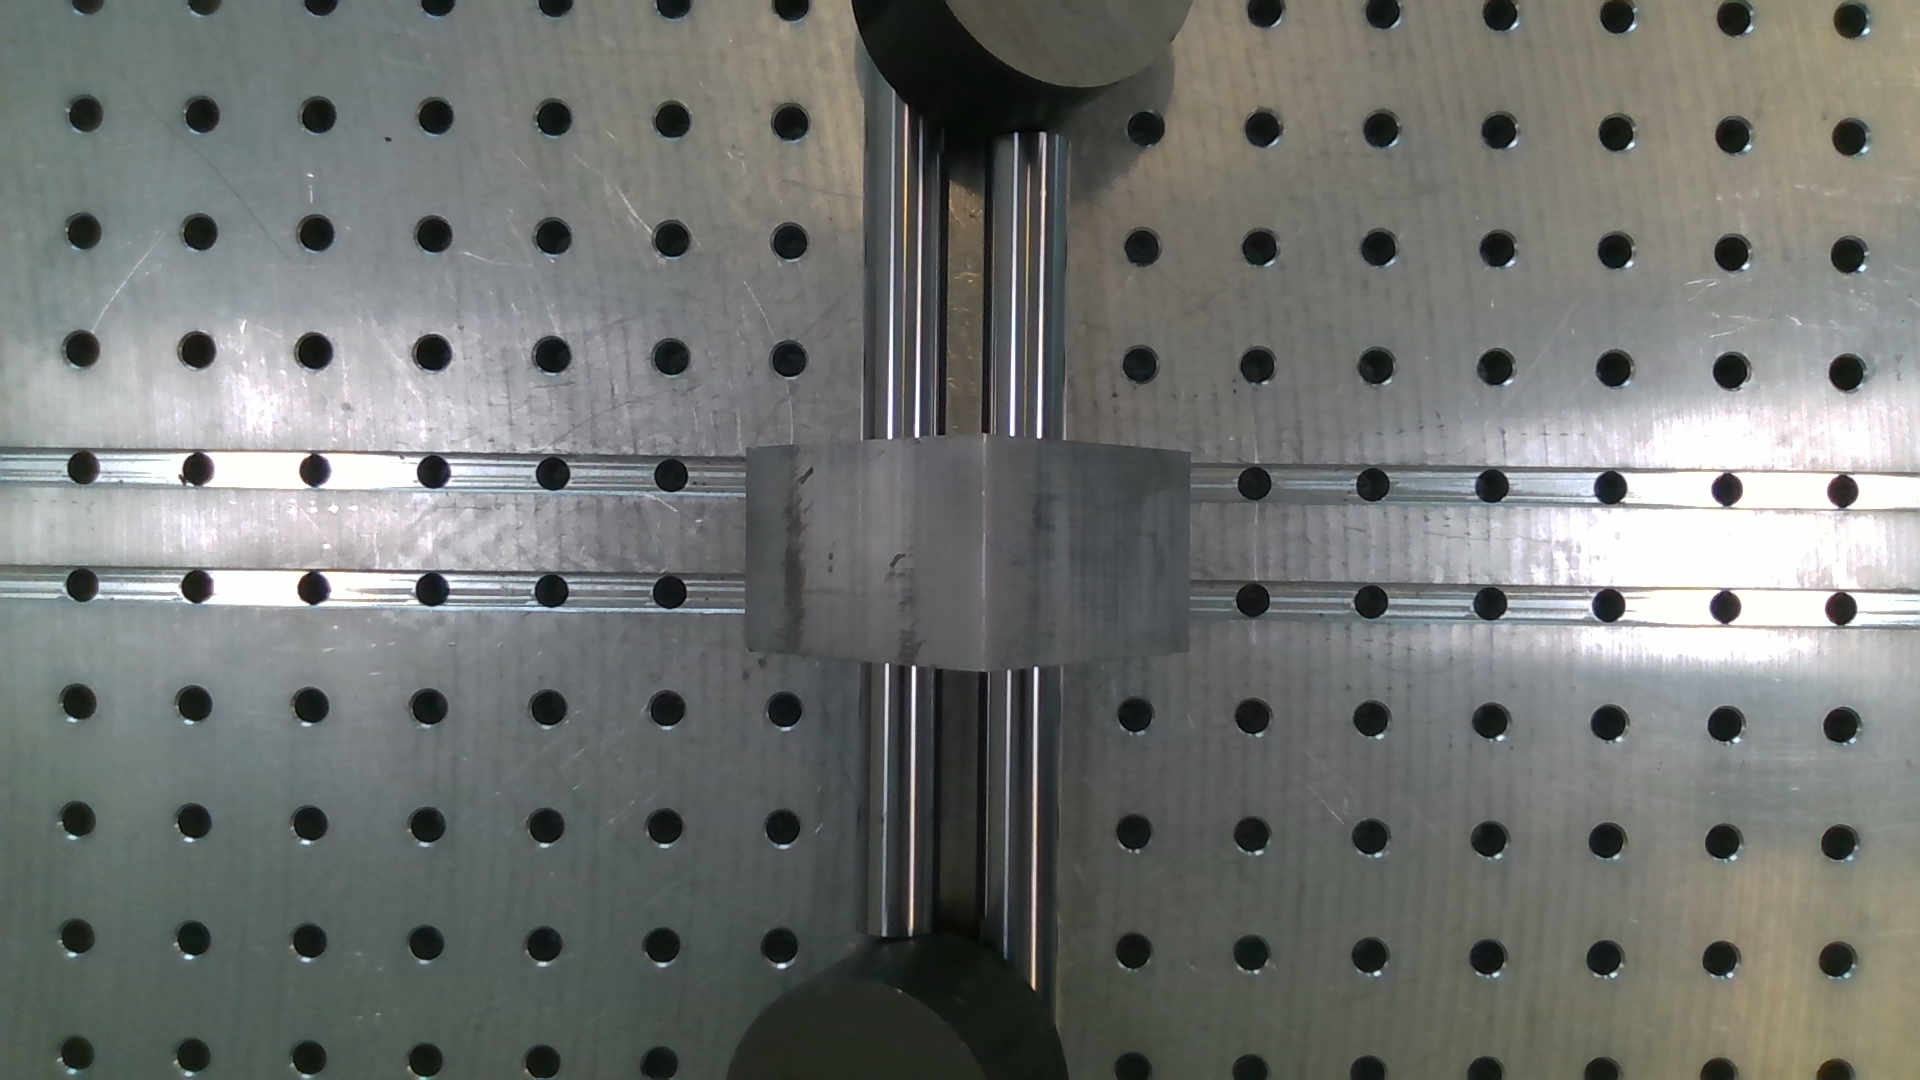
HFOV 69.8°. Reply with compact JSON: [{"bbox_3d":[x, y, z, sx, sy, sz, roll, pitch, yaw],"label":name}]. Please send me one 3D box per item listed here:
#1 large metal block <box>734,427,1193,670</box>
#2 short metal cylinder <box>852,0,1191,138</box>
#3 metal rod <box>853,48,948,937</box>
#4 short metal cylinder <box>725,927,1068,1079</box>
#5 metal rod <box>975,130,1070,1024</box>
[{"bbox_3d":[0.001,0.002,0.340,0.080,0.080,0.050,1,90,42],"label":"large metal block"},{"bbox_3d":[0.016,-0.155,0.370,0.080,0.050,0.080,0,90,-23],"label":"short metal cylinder"},{"bbox_3d":[-0.017,-0.038,0.397,0.025,0.025,0.300,1,90,0],"label":"metal rod"},{"bbox_3d":[-0.017,0.151,0.373,0.080,0.050,0.080,0,89,22],"label":"short metal cylinder"},{"bbox_3d":[0.018,0.036,0.397,0.025,0.025,0.300,1,90,0],"label":"metal rod"}]
